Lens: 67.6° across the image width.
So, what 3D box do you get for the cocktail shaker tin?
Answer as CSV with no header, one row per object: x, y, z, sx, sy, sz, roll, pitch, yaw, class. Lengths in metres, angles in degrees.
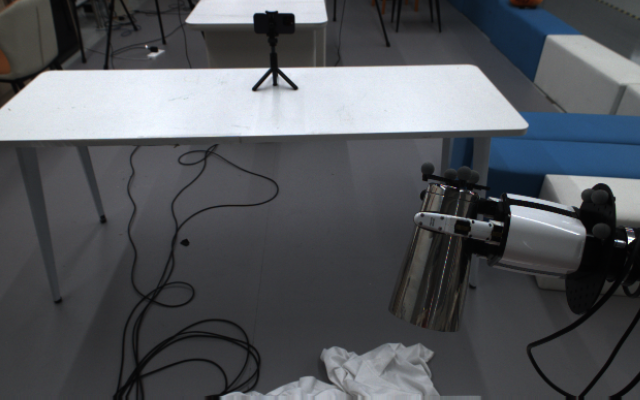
0.153,0.066,0.618,0.093,0.170,0.093,12,3,-1,cocktail shaker tin
